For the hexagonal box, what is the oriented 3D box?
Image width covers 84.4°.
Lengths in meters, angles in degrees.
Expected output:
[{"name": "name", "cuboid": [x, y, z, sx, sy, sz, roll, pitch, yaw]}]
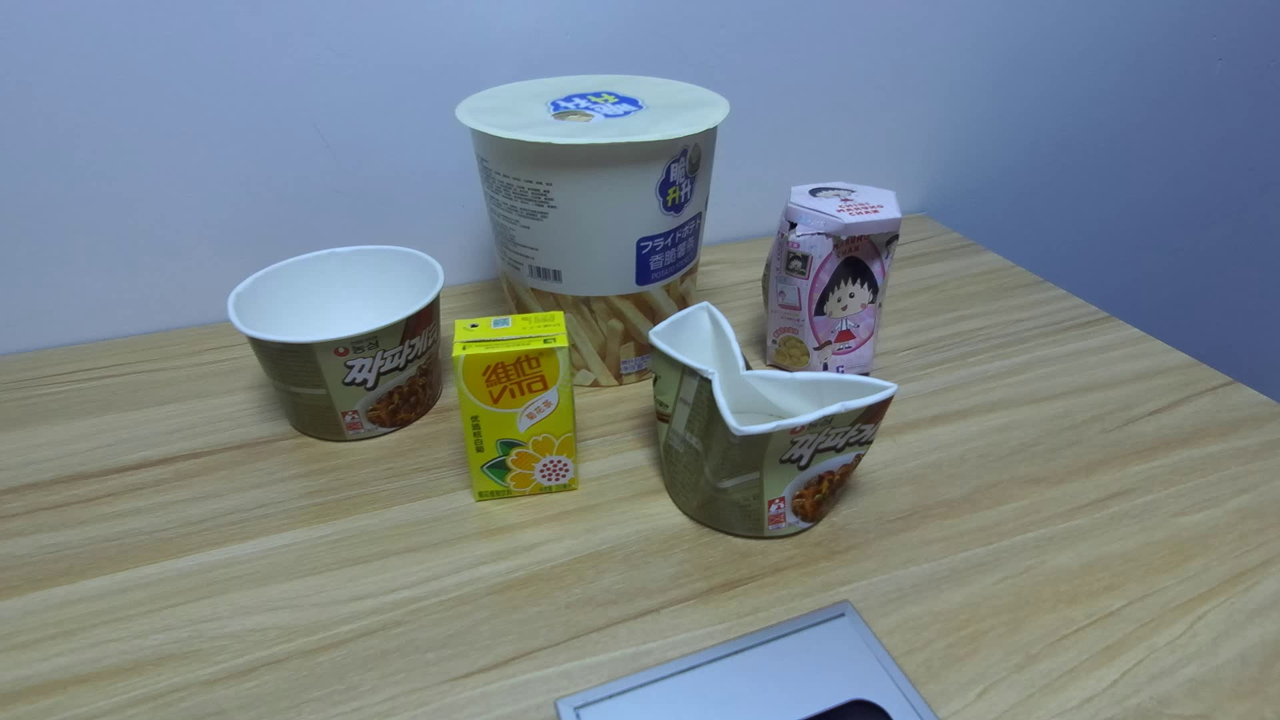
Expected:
[{"name": "hexagonal box", "cuboid": [0.143, -0.059, 0.540, 0.091, 0.134, 0.090, 12, 32, 18]}]

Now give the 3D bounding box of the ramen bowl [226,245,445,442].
[{"name": "ramen bowl", "cuboid": [-0.205, -0.011, 0.508, 0.140, 0.095, 0.140, 0, 34, 0]}]

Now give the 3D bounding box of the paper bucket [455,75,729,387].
[{"name": "paper bucket", "cuboid": [-0.032, -0.098, 0.544, 0.198, 0.195, 0.198, 0, 34, 0]}]

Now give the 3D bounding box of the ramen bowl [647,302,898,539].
[{"name": "ramen bowl", "cuboid": [0.067, 0.033, 0.432, 0.112, 0.093, 0.127, -16, 37, -21]}]

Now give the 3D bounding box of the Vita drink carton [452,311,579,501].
[{"name": "Vita drink carton", "cuboid": [-0.074, 0.029, 0.431, 0.067, 0.109, 0.043, -5, 33, -9]}]
